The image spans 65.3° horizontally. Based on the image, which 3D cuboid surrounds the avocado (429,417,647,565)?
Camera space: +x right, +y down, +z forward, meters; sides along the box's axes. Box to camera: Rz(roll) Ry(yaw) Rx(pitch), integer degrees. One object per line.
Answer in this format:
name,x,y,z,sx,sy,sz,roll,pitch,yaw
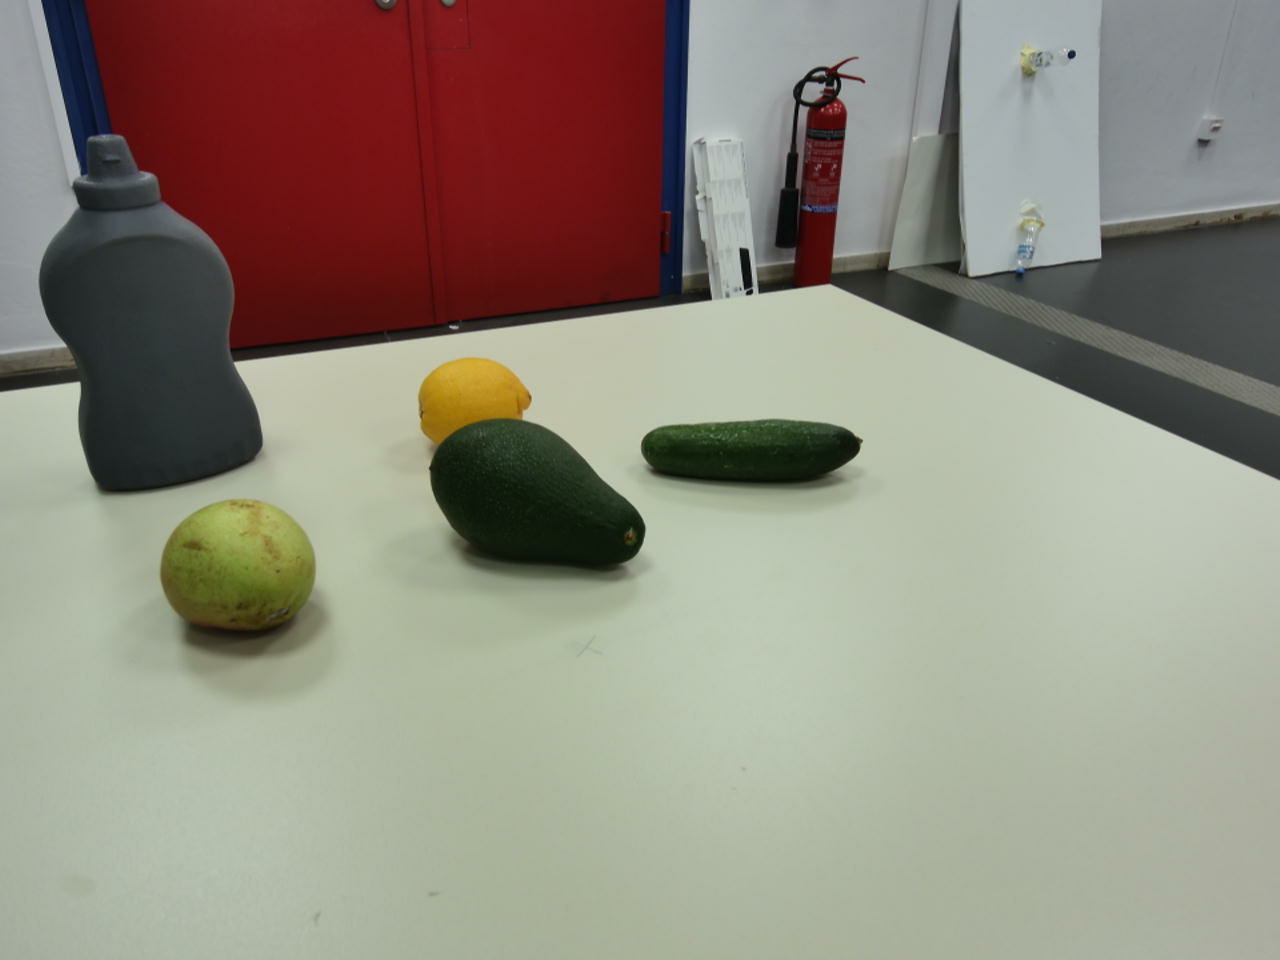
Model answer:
avocado,-0.056,0.007,0.511,0.110,0.071,0.072,21,33,37
